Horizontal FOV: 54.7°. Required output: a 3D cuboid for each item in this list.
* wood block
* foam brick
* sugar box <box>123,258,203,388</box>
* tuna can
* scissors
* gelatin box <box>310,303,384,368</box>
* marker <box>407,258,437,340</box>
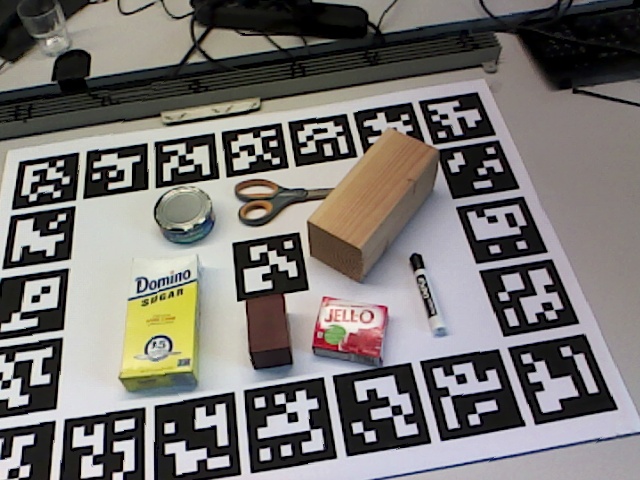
[{"bbox_3d":[0.082,-0.043,0.906,0.090,0.090,0.206,29,63,22],"label":"wood block"},{"bbox_3d":[-0.067,0.127,0.821,0.053,0.051,0.078,-7,57,0],"label":"foam brick"},{"bbox_3d":[-0.213,0.111,0.855,0.093,0.045,0.177,-5,56,1],"label":"sugar box"},{"bbox_3d":[-0.211,-0.032,0.951,0.086,0.033,0.086,-2,57,3],"label":"tuna can"},{"bbox_3d":[-0.040,-0.059,0.968,0.203,0.016,0.088,-4,57,5],"label":"scissors"},{"bbox_3d":[0.038,0.127,0.830,0.089,0.030,0.073,7,58,10],"label":"gelatin box"},{"bbox_3d":[0.140,0.079,0.856,0.019,0.019,0.121,-8,58,0],"label":"marker"}]
